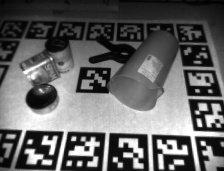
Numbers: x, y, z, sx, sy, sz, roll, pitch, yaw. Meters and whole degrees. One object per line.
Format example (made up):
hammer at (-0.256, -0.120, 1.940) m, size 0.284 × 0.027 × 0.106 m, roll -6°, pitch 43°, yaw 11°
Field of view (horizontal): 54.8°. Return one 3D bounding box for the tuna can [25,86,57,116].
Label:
tuna can at (-0.208, 0.047, 0.640) m, size 0.086 × 0.034 × 0.085 m, roll 0°, pitch 59°, yaw 1°

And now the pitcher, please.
pitcher at (0.092, -0.056, 0.639) m, size 0.186 × 0.134 × 0.243 m, roll 6°, pitch 47°, yaw 32°

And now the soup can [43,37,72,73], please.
soup can at (-0.173, -0.095, 0.693) m, size 0.068 × 0.103 × 0.067 m, roll -2°, pitch 59°, yaw 4°

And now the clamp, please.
clamp at (-0.012, -0.118, 0.754) m, size 0.165 × 0.037 × 0.121 m, roll 5°, pitch 53°, yaw 0°

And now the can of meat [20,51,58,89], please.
can of meat at (-0.224, -0.042, 0.653) m, size 0.084 × 0.102 × 0.057 m, roll -32°, pitch 62°, yaw -13°
